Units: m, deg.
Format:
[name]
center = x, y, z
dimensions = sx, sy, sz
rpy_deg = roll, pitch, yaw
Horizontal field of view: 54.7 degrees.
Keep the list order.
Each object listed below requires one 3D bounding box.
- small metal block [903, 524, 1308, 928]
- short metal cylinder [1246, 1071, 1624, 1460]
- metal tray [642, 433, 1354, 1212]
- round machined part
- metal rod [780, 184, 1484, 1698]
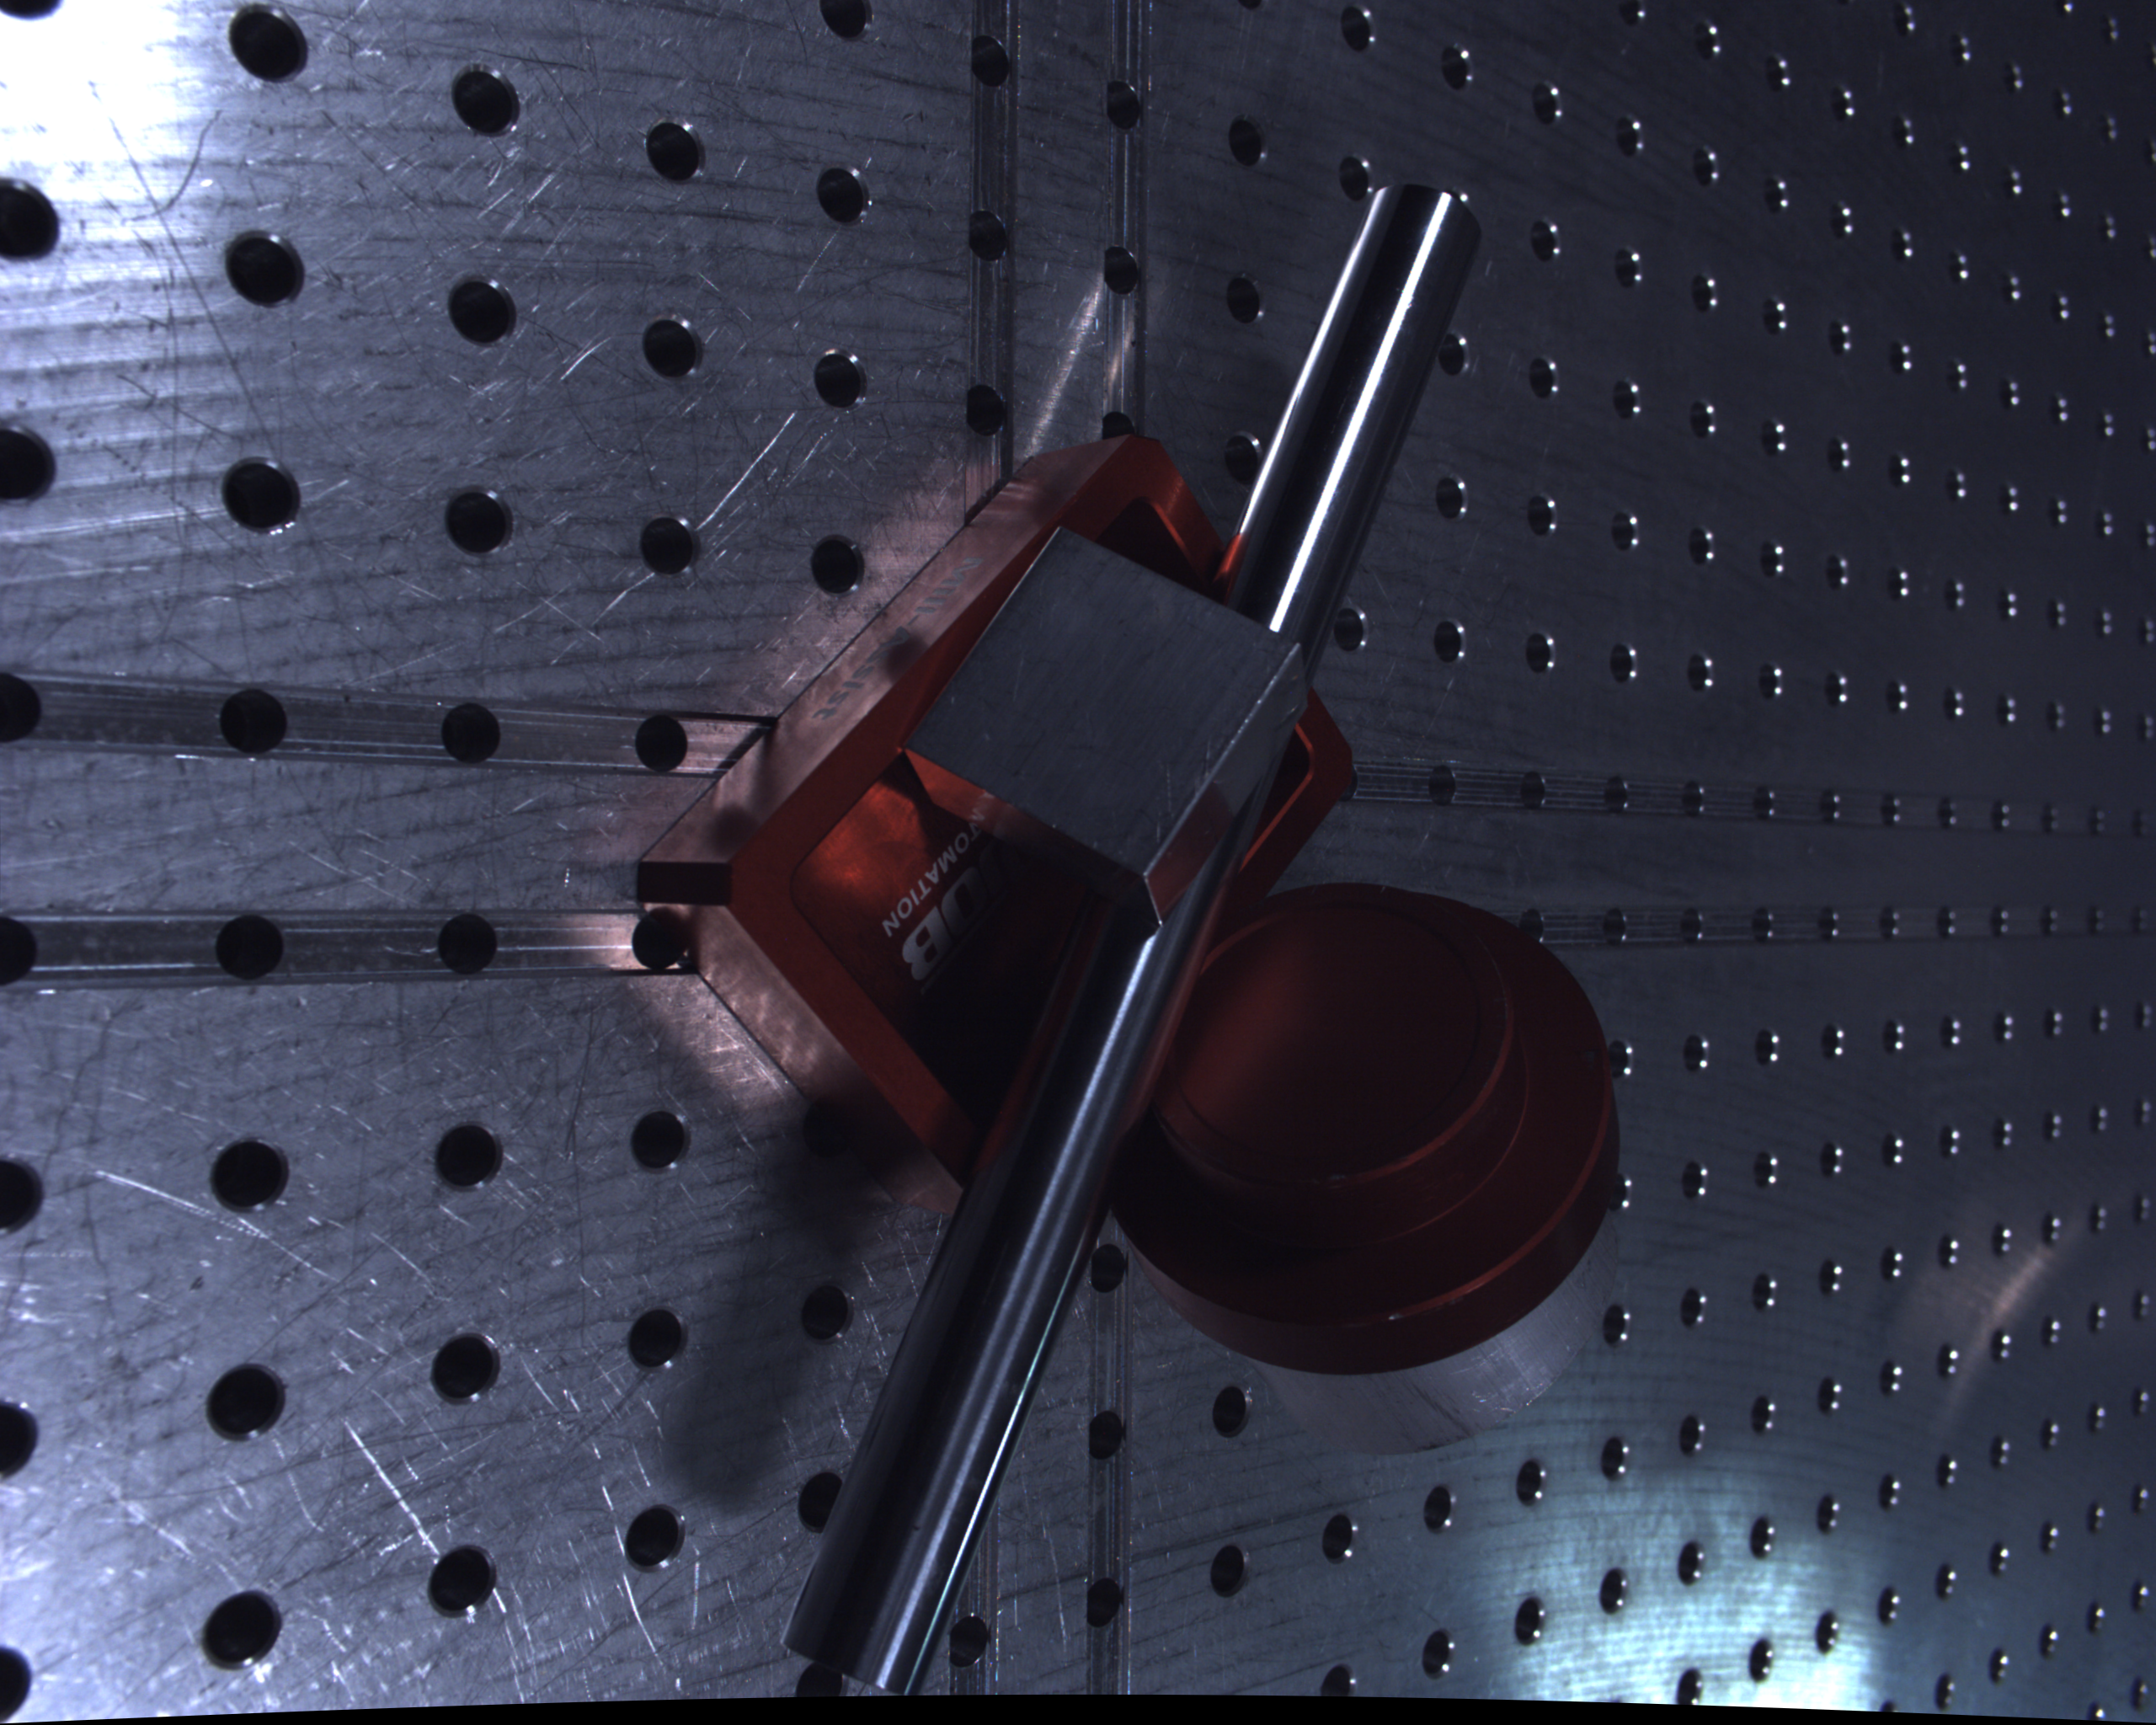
[small metal block]
center = 0.006, -0.024, 0.371
dimensions = 0.050, 0.050, 0.025
rpy_deg = -56, 161, -14
[short metal cylinder]
center = 0.064, 0.074, 0.428
dimensions = 0.080, 0.080, 0.050
rpy_deg = -51, 121, -28
[metal tray]
center = -0.009, -0.009, 0.399
dimensions = 0.130, 0.030, 0.090
rpy_deg = -51, 120, -28
[round machined part]
center = 0.051, 0.043, 0.393
dimensions = 0.098, 0.098, 0.042
rpy_deg = -54, 144, -27
[metal rod]
center = 0.017, 0.000, 0.386
dimensions = 0.025, 0.025, 0.300
rpy_deg = 35, 68, -35
